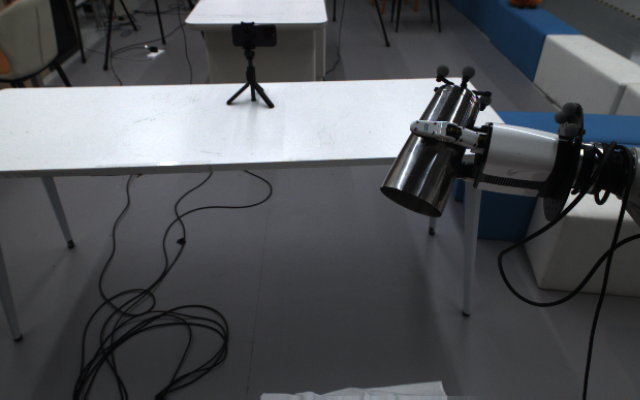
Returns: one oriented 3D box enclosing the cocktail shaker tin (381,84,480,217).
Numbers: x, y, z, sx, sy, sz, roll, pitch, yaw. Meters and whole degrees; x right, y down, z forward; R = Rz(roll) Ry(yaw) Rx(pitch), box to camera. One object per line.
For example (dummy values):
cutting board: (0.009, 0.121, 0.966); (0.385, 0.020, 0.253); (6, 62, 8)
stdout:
cocktail shaker tin: (0.164, -0.076, 0.679); (0.093, 0.093, 0.170); (21, 81, 25)
